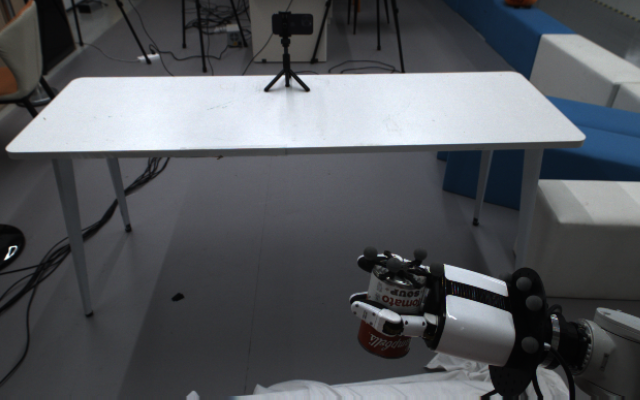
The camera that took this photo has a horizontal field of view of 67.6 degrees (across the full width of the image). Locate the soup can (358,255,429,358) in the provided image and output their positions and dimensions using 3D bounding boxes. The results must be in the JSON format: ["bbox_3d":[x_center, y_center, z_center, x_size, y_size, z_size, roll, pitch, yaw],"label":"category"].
[{"bbox_3d":[0.090,0.134,0.600,0.067,0.101,0.067,9,19,-3],"label":"soup can"}]
